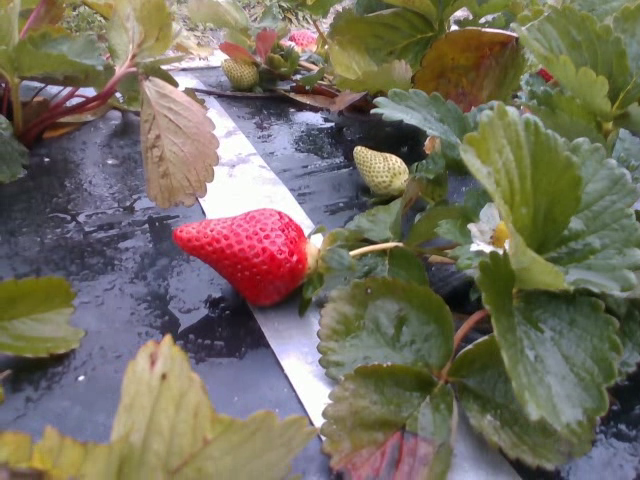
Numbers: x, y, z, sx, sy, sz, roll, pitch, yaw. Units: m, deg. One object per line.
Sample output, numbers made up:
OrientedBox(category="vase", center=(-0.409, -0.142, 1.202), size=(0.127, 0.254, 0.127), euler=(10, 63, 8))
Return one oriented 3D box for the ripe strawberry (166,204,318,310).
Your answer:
OrientedBox(category="ripe strawberry", center=(-0.028, 0.003, 0.219), size=(0.051, 0.042, 0.038), euler=(11, -32, -20))
